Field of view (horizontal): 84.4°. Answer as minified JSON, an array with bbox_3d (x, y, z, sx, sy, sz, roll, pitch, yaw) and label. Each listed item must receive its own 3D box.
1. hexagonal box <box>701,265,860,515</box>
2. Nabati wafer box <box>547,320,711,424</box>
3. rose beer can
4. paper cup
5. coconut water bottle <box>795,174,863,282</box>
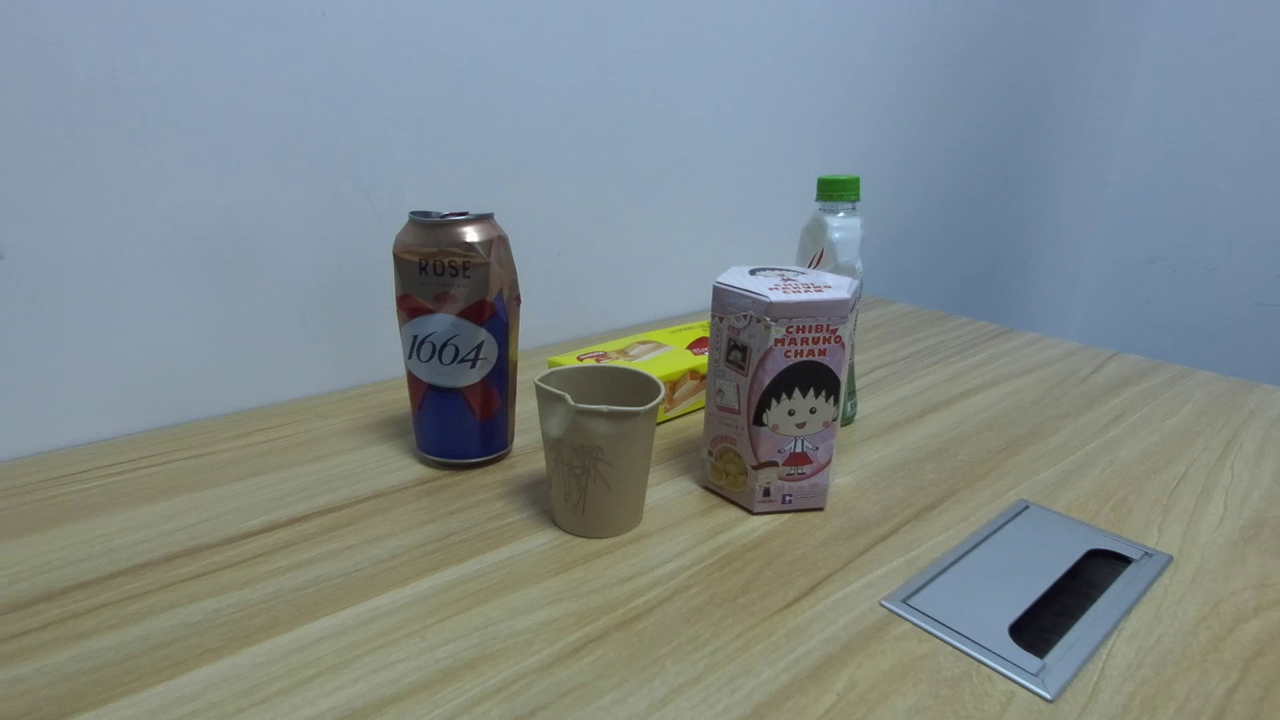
[{"bbox_3d":[0.085,0.017,0.434,0.091,0.136,0.083,-3,20,-11],"label":"hexagonal box"},{"bbox_3d":[0.031,0.005,0.608,0.204,0.042,0.096,-16,24,-39],"label":"Nabati wafer box"},{"bbox_3d":[-0.119,-0.014,0.474,0.075,0.167,0.065,8,18,25],"label":"rose beer can"},{"bbox_3d":[-0.024,0.052,0.407,0.073,0.081,0.068,1,18,-4],"label":"paper cup"},{"bbox_3d":[0.142,-0.045,0.536,0.067,0.187,0.067,3,13,0],"label":"coconut water bottle"}]
